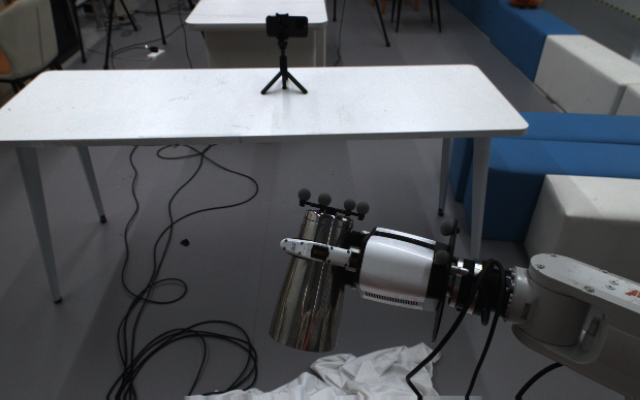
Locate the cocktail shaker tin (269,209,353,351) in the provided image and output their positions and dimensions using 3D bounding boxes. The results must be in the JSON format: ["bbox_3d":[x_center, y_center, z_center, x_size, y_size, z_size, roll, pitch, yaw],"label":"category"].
[{"bbox_3d":[-0.002,0.100,0.646,0.093,0.170,0.093,13,1,0],"label":"cocktail shaker tin"}]
